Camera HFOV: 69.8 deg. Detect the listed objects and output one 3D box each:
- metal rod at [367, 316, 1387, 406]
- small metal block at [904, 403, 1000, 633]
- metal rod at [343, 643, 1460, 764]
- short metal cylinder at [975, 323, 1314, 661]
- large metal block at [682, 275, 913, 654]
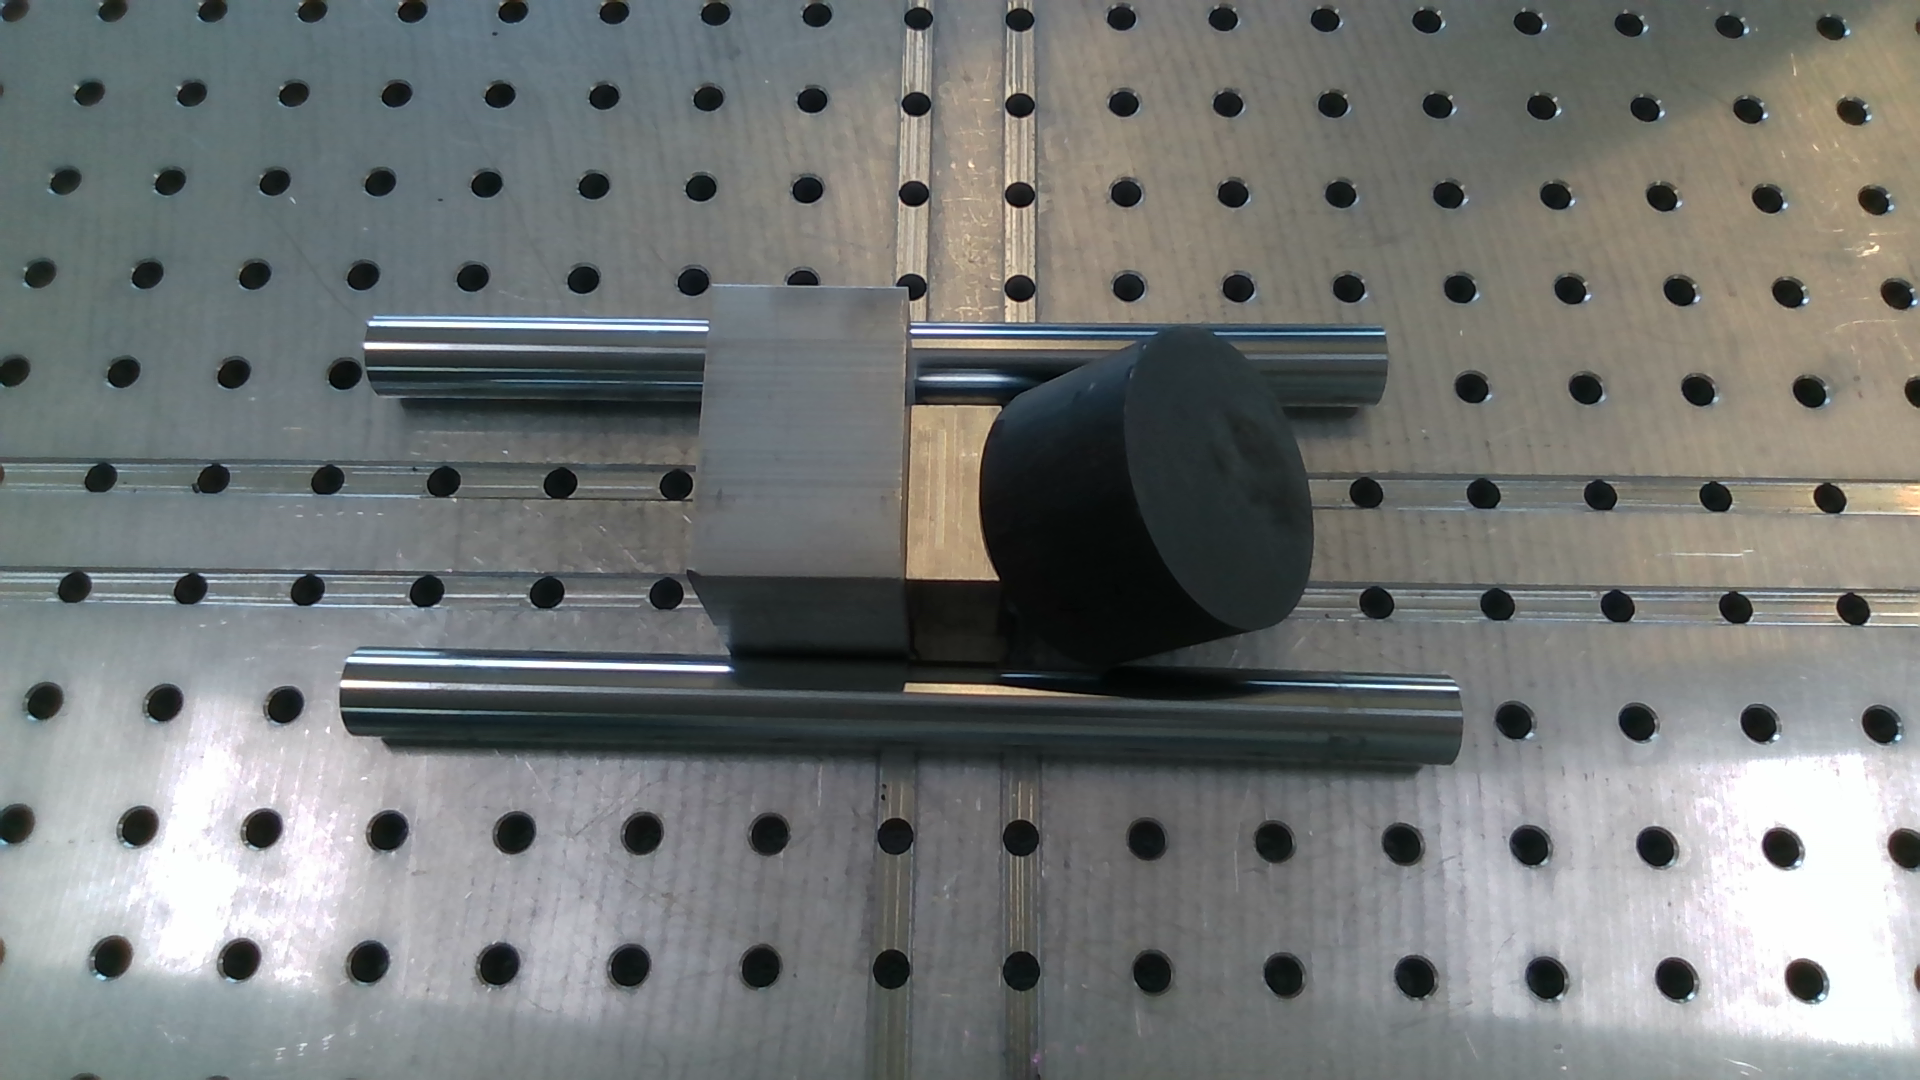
[{"bbox_3d":[-0.025,-0.054,0.417,0.300,0.025,0.025,0,70,0],"label":"metal rod"},{"bbox_3d":[-0.002,-0.005,0.386,0.025,0.050,0.050,1,71,0],"label":"small metal block"},{"bbox_3d":[-0.016,0.045,0.382,0.300,0.025,0.025,2,70,1],"label":"metal rod"},{"bbox_3d":[0.050,-0.011,0.366,0.080,0.050,0.080,17,65,-41],"label":"short metal cylinder"},{"bbox_3d":[-0.039,-0.016,0.372,0.050,0.080,0.080,1,70,0],"label":"large metal block"}]
